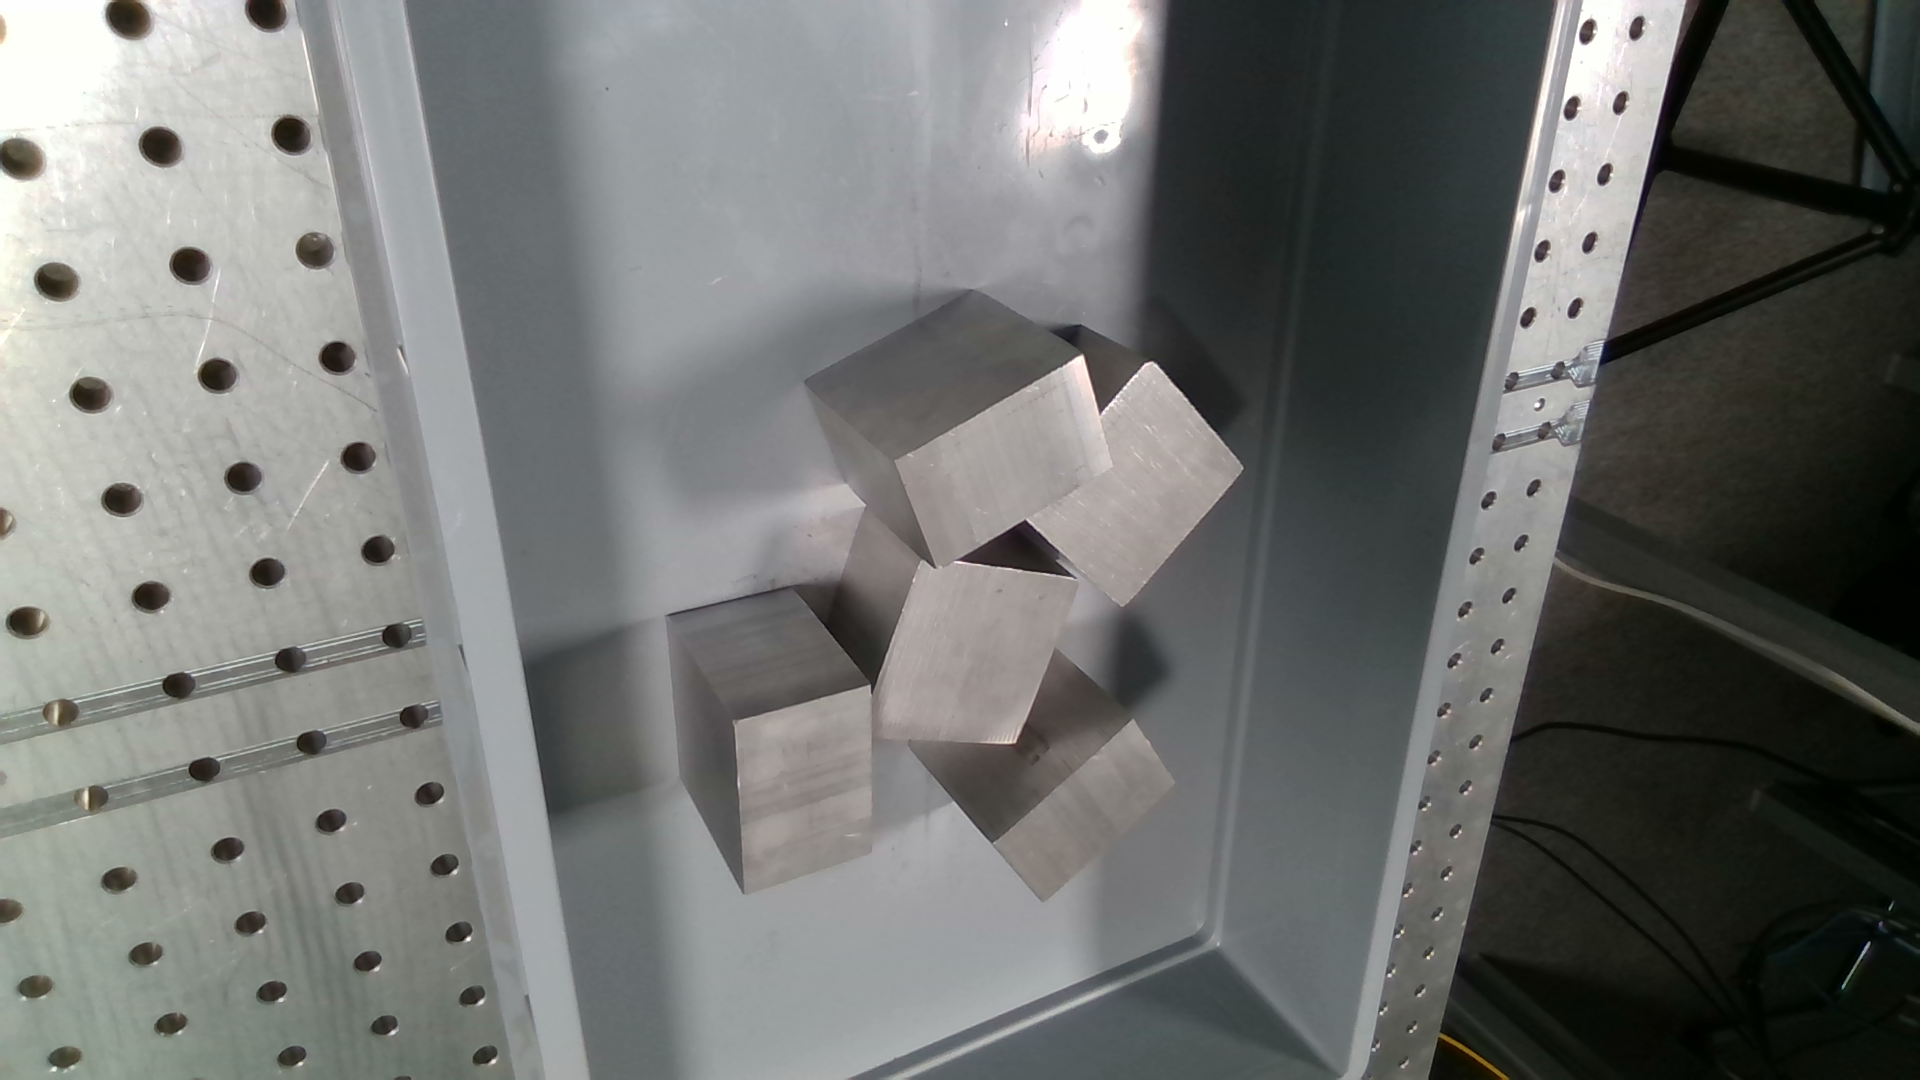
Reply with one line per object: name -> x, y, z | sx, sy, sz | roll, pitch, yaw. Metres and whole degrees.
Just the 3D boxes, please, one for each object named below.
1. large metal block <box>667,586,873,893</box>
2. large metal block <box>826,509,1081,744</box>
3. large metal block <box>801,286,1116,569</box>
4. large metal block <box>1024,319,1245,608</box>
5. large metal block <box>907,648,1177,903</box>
large metal block -> -0.075, 0.075, 0.540 | 0.050, 0.080, 0.080 | -14, 121, -25
large metal block -> -0.008, 0.036, 0.578 | 0.080, 0.050, 0.080 | 9, 110, -35
large metal block -> -0.001, -0.045, 0.519 | 0.080, 0.080, 0.050 | -31, 127, -14
large metal block -> 0.060, -0.032, 0.583 | 0.080, 0.050, 0.080 | -49, 129, 1
large metal block -> 0.035, 0.100, 0.619 | 0.080, 0.080, 0.050 | -41, 129, -7
